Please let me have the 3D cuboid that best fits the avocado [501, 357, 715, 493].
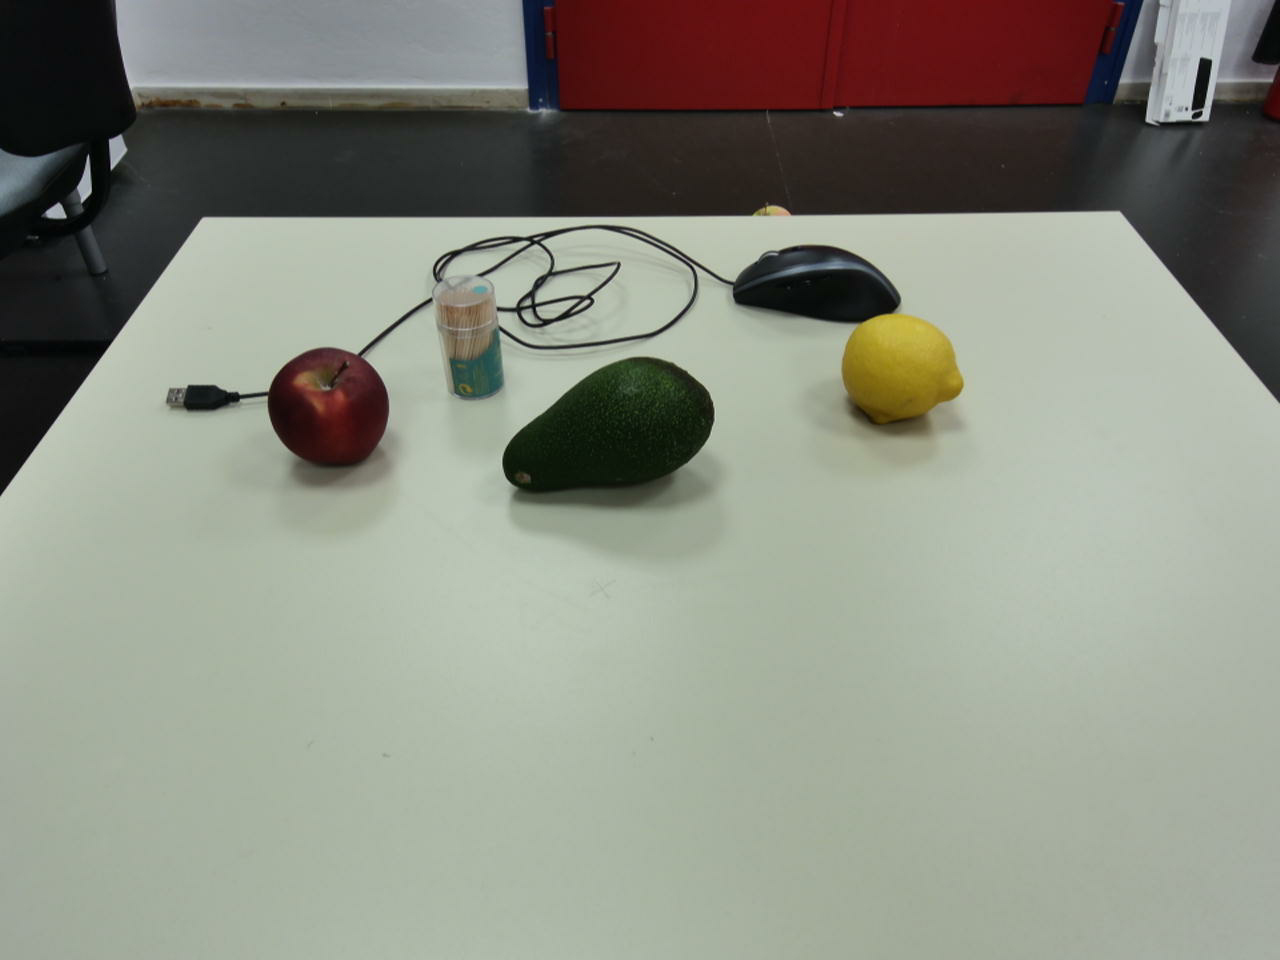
[{"bbox_3d":[-0.017,-0.036,0.588,0.123,0.076,0.074,4,39,5],"label":"avocado"}]
